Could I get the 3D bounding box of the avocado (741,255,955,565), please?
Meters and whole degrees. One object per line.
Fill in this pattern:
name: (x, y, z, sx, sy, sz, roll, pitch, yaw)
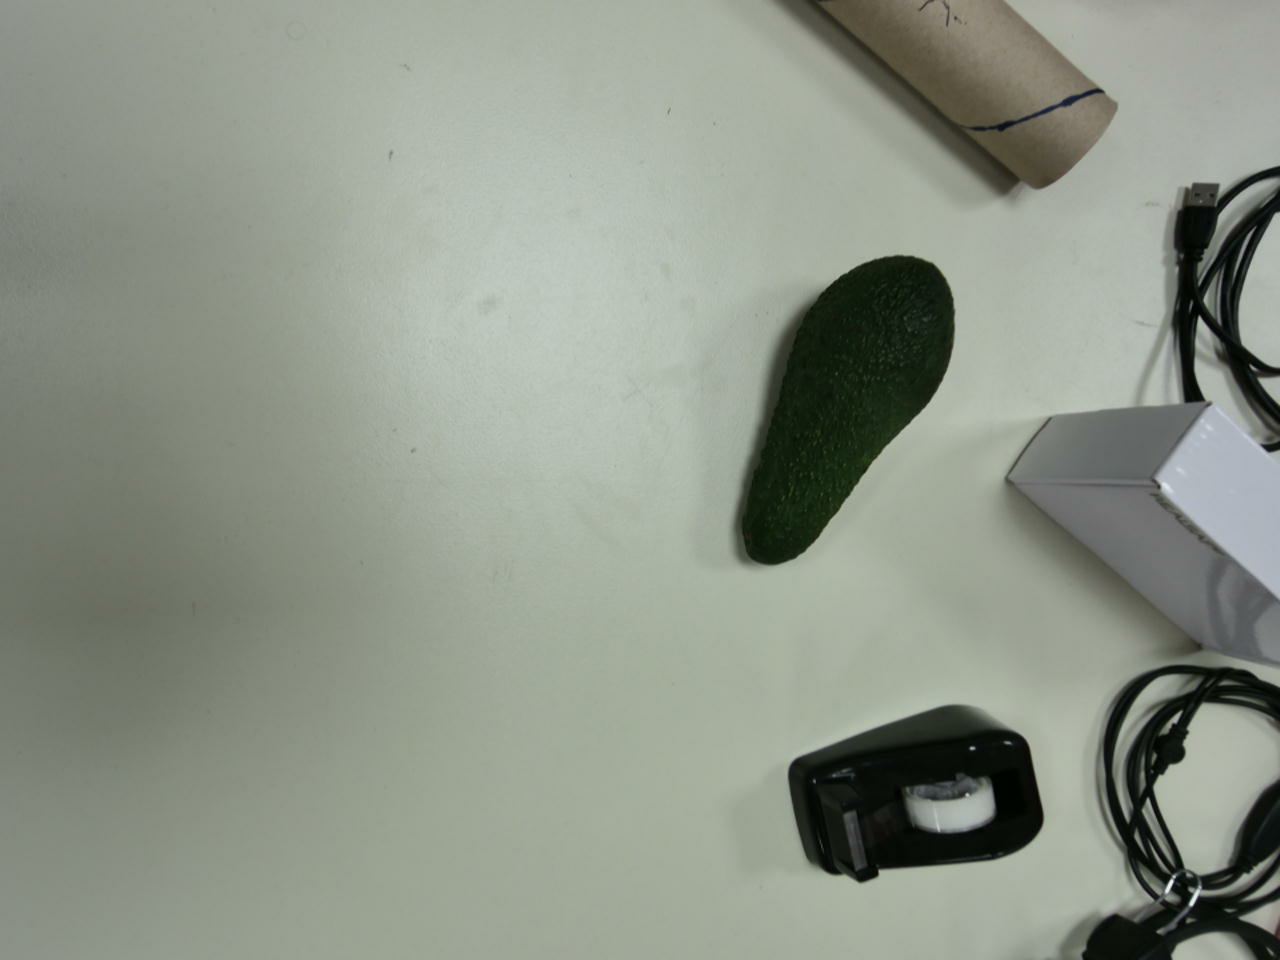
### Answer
avocado: (0.089, -0.026, 0.415, 0.063, 0.067, 0.141, 16, 87, -11)
